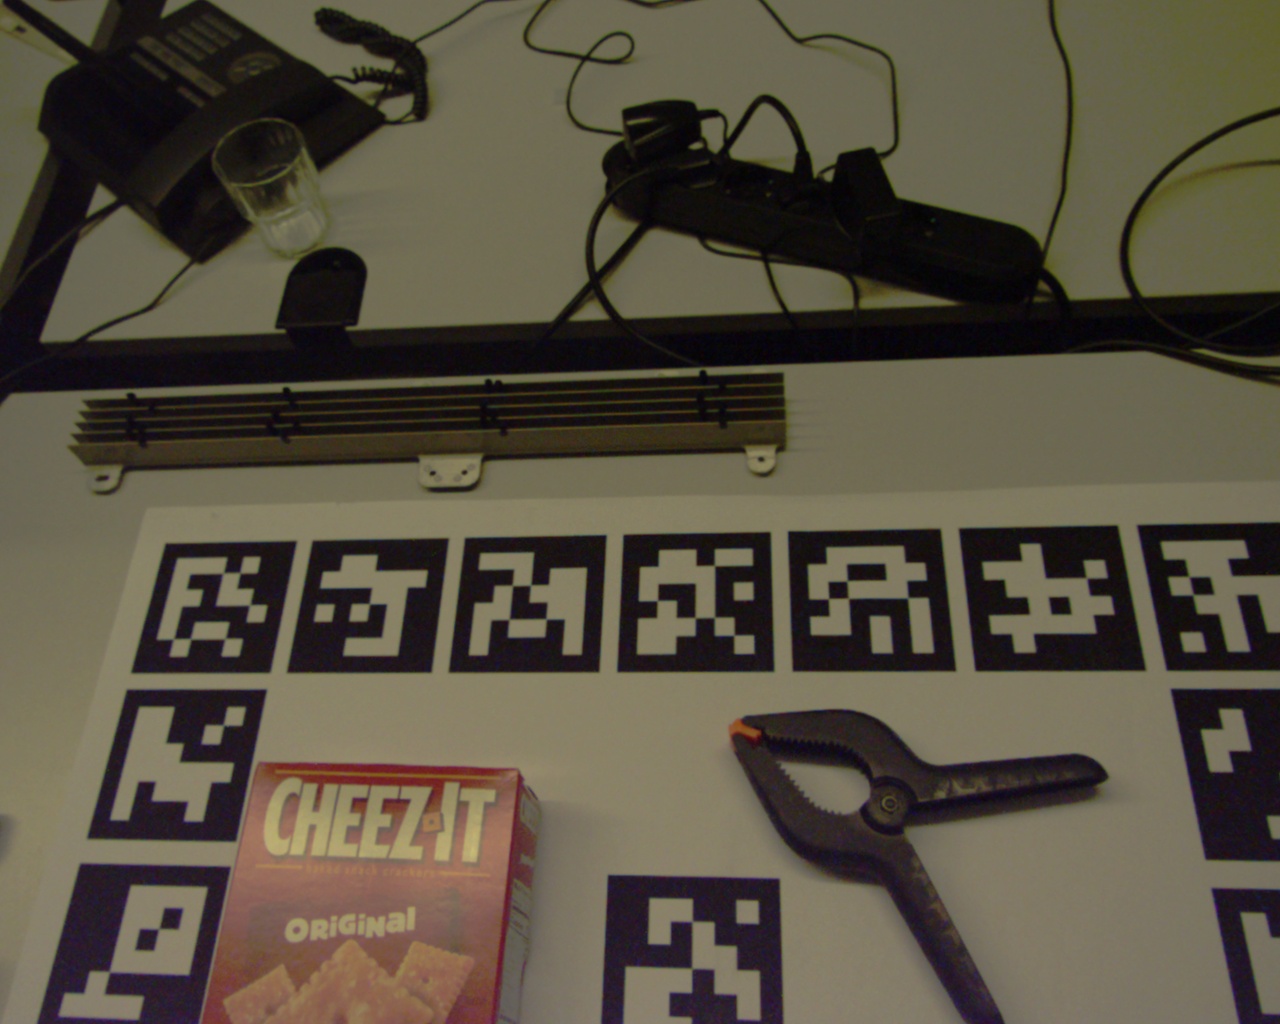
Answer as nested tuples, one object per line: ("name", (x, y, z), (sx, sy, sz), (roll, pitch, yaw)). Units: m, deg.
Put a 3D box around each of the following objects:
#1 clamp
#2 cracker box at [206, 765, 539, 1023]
("clamp", (0.133, 0.179, 0.703), (0.205, 0.036, 0.165), (27, 66, 21))
("cracker box", (-0.156, 0.261, 0.665), (0.165, 0.071, 0.214), (0, 60, 9))
